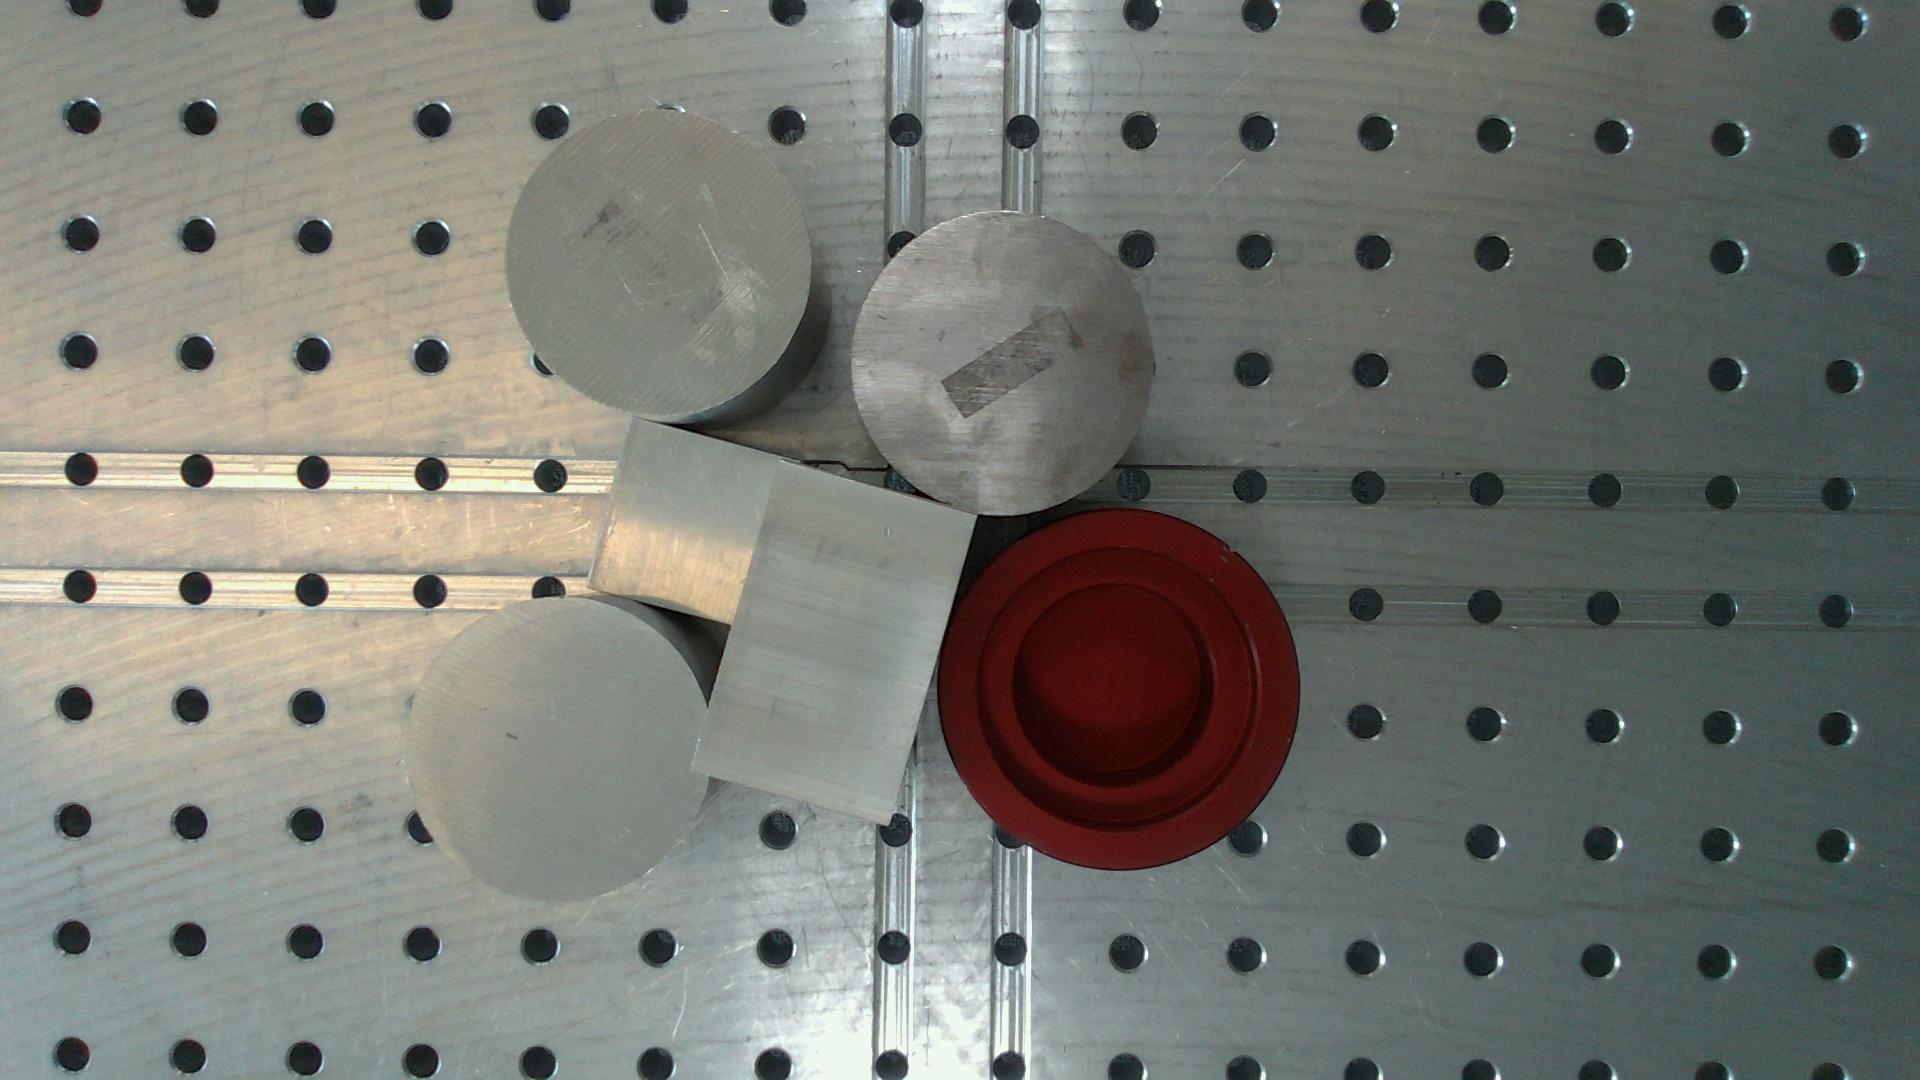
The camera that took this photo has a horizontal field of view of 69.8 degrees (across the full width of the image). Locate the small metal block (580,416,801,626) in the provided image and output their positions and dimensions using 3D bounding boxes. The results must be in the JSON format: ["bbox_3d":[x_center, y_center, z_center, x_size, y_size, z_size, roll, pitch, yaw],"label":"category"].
[{"bbox_3d":[-0.076,-0.005,0.397,0.050,0.025,0.050,15,90,0],"label":"small metal block"}]

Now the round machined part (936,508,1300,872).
[{"bbox_3d":[0.043,0.040,0.389,0.098,0.042,0.098,0,90,0],"label":"round machined part"}]

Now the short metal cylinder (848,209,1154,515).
[{"bbox_3d":[0.011,-0.047,0.385,0.080,0.050,0.080,0,90,0],"label":"short metal cylinder"}]

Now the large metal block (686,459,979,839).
[{"bbox_3d":[-0.030,0.026,0.367,0.050,0.080,0.080,16,90,0],"label":"large metal block"}]

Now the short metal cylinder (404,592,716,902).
[{"bbox_3d":[-0.105,0.055,0.385,0.080,0.050,0.080,0,90,0],"label":"short metal cylinder"}]

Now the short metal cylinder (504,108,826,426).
[{"bbox_3d":[-0.079,-0.073,0.384,0.080,0.050,0.080,0,90,0],"label":"short metal cylinder"}]
